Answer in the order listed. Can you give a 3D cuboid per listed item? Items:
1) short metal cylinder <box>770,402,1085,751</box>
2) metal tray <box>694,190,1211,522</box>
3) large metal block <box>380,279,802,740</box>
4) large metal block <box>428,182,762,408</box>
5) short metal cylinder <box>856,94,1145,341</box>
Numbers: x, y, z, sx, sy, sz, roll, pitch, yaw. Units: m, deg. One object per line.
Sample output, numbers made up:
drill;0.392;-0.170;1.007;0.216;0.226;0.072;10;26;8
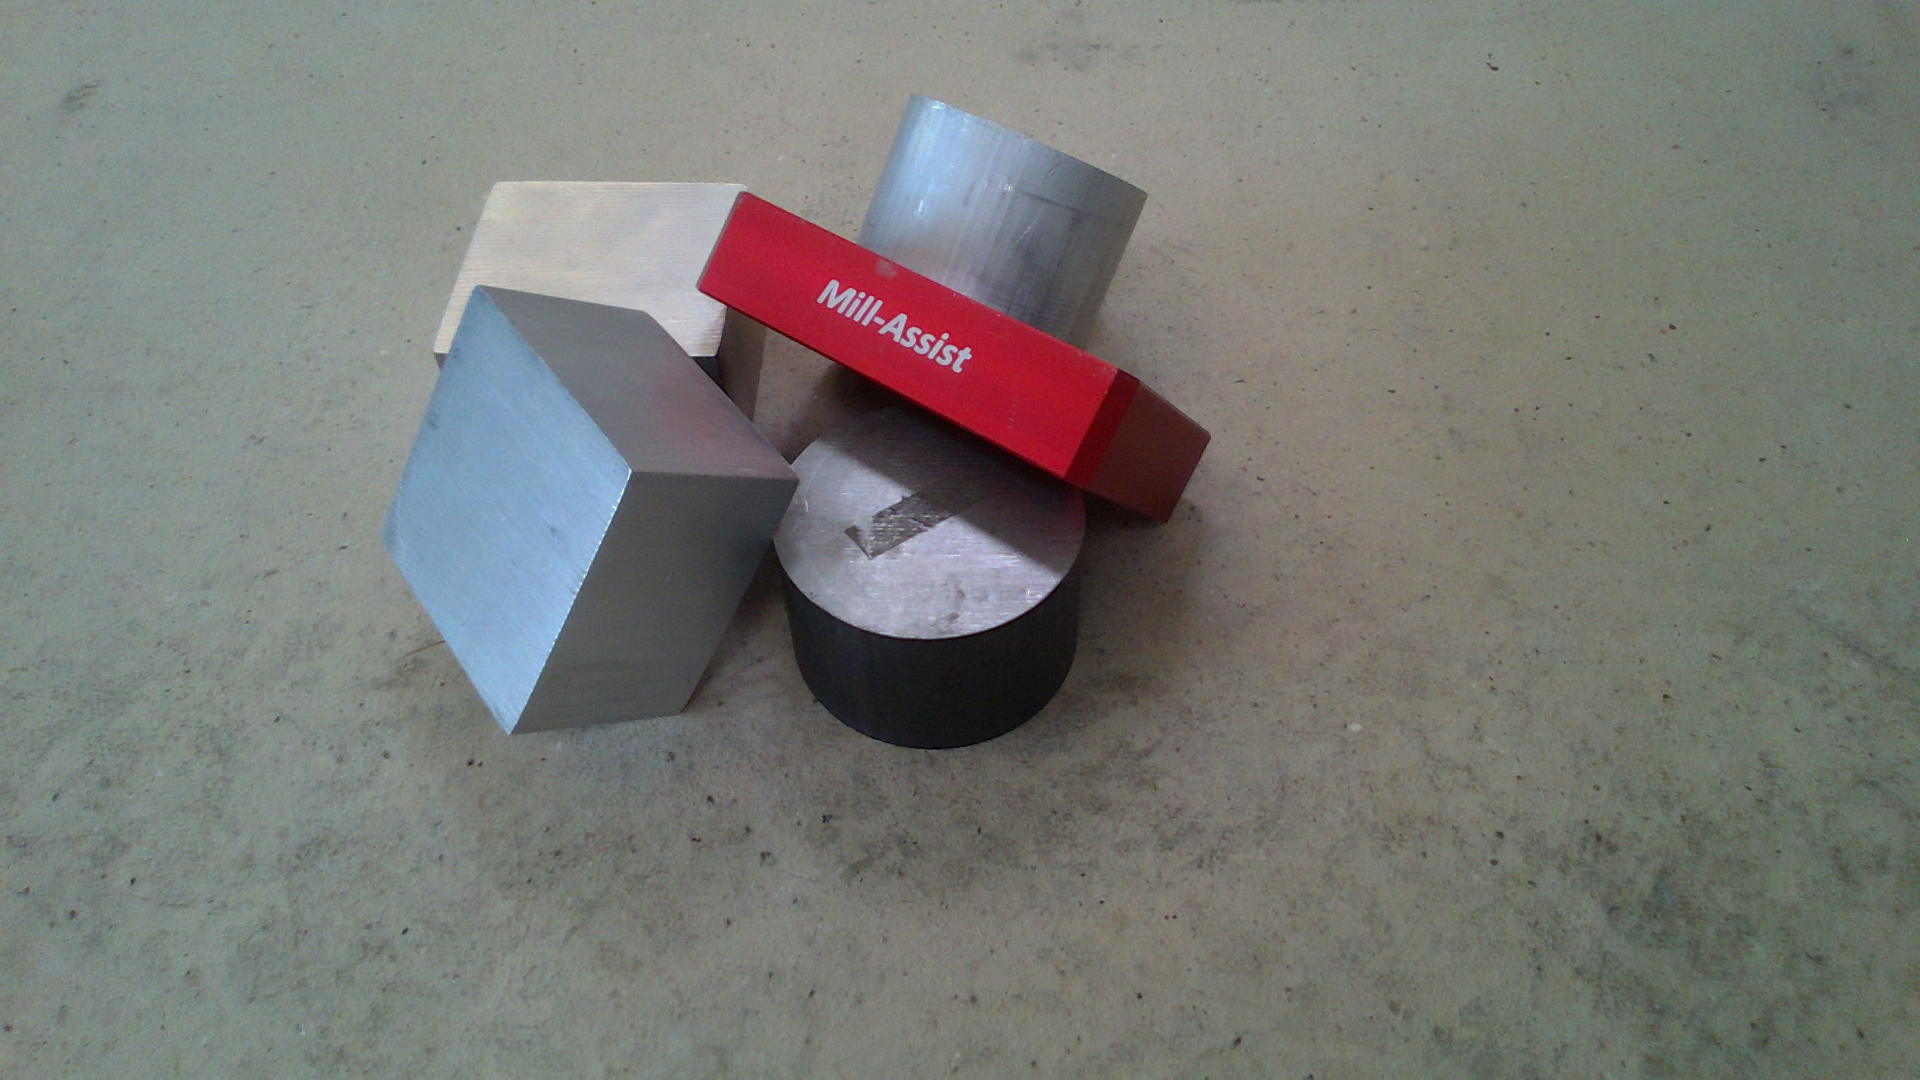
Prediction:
short metal cylinder;-0.008;0.009;0.369;0.080;0.050;0.080;0;50;0
metal tray;0.000;-0.051;0.394;0.130;0.090;0.030;29;95;22
large metal block;-0.098;-0.008;0.353;0.050;0.080;0.080;0;38;-50
large metal block;-0.108;-0.066;0.429;0.080;0.050;0.080;1;50;1
short metal cylinder;0.012;-0.101;0.435;0.080;0.050;0.080;22;14;-5
